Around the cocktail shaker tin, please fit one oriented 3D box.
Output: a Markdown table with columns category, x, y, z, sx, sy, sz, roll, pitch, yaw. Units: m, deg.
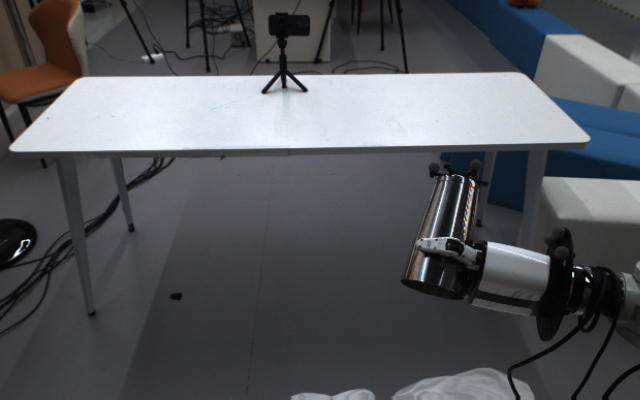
| category | x | y | z | sx | sy | sz | roll | pitch | yaw |
| --- | --- | --- | --- | --- | --- | --- | --- | --- | --- |
| cocktail shaker tin | 0.185 | 0.052 | 0.718 | 0.093 | 0.093 | 0.170 | 14 | 73 | 16 |
